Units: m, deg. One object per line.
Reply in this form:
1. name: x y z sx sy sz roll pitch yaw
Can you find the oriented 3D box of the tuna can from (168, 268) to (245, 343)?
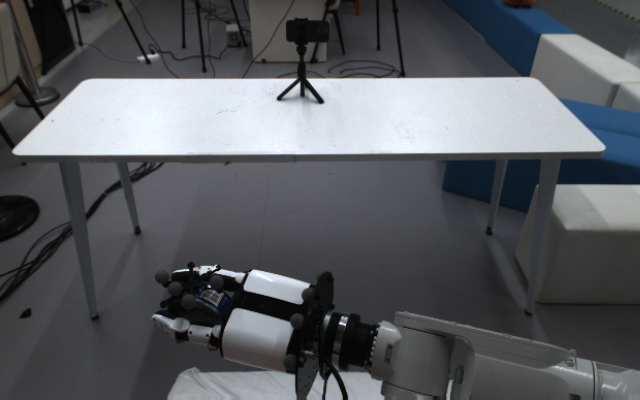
1. tuna can: -0.152 0.148 0.638 0.085 0.085 0.034 11 38 12
